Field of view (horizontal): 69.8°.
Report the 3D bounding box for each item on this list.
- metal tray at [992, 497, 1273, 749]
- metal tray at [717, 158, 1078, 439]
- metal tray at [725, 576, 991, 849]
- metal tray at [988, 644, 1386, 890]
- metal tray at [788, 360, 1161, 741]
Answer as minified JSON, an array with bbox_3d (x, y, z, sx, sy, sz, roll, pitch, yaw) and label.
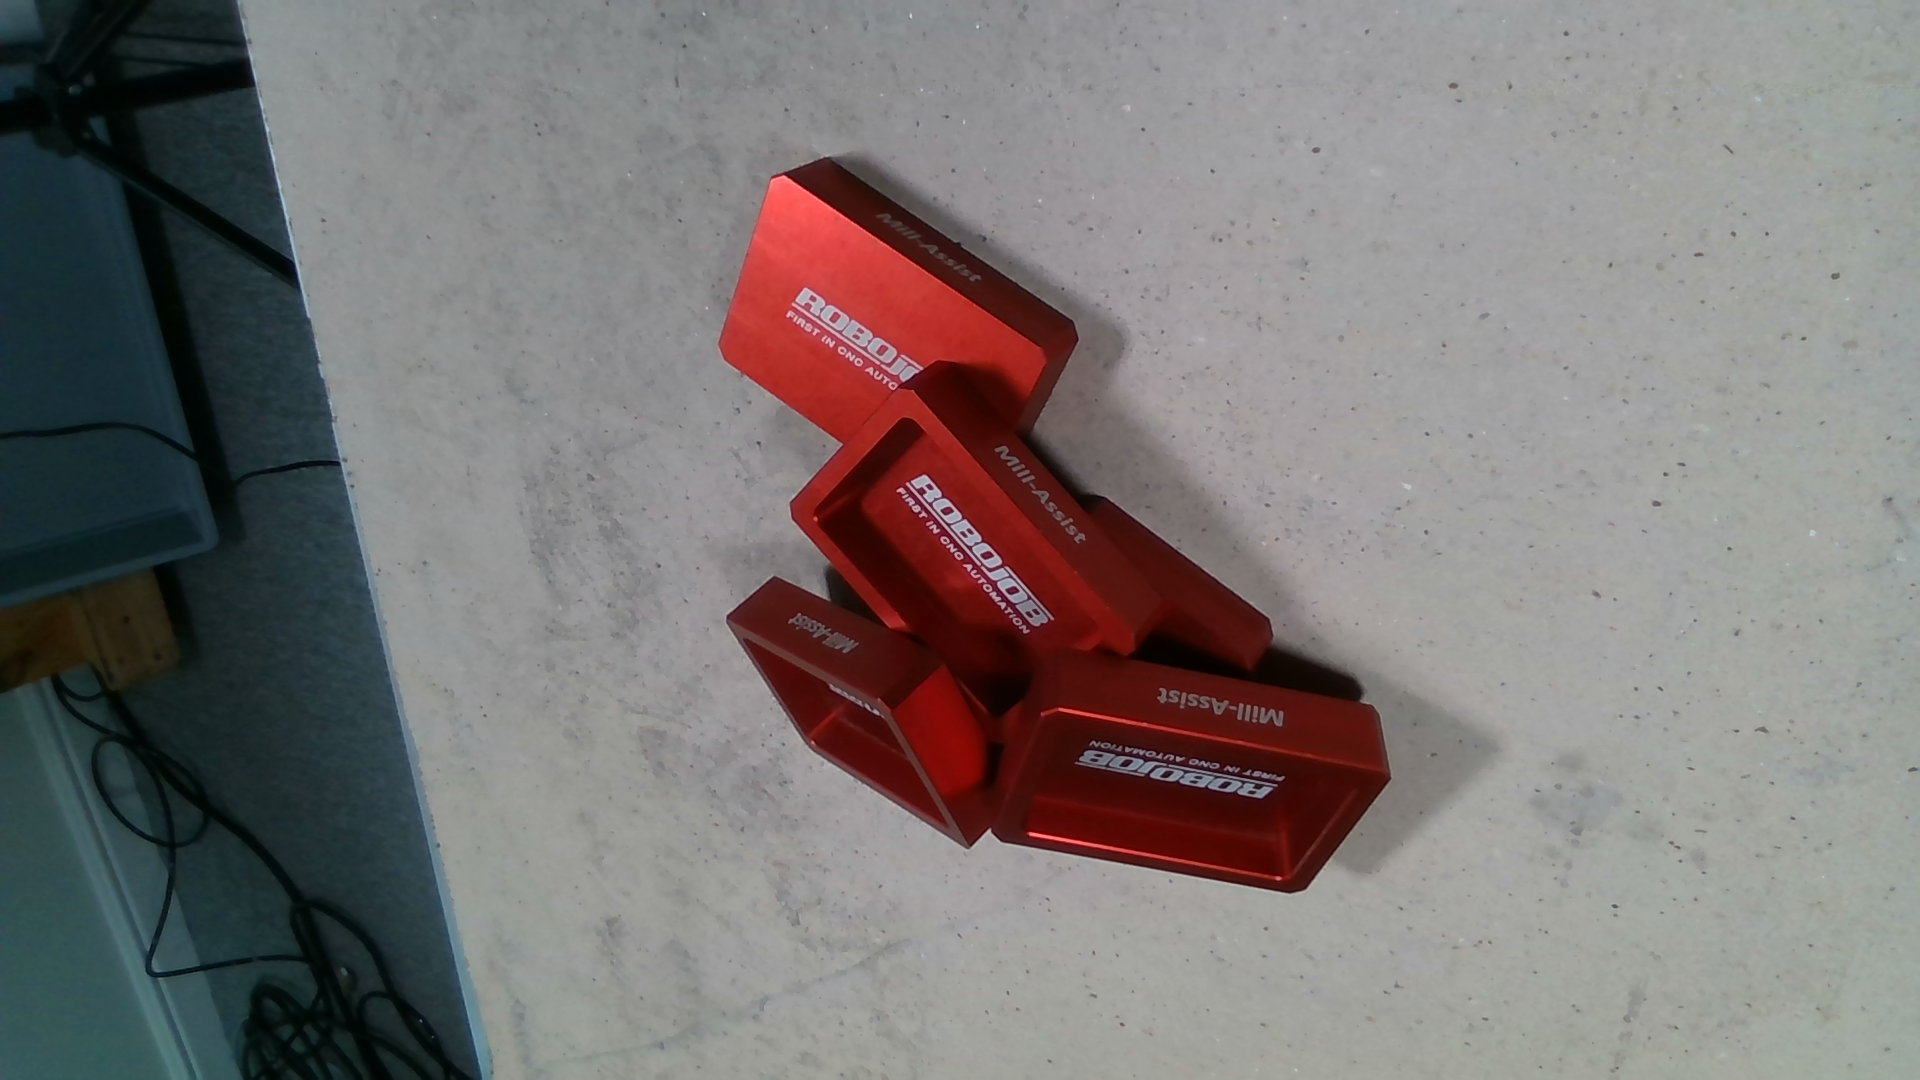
[{"bbox_3d":[0.057,0.057,0.573,0.090,0.030,0.130,37,129,9],"label":"metal tray"},{"bbox_3d":[-0.028,-0.079,0.550,0.130,0.030,0.090,35,128,10],"label":"metal tray"},{"bbox_3d":[-0.041,0.072,0.597,0.130,0.030,0.090,20,145,50],"label":"metal tray"},{"bbox_3d":[0.084,0.090,0.530,0.130,0.030,0.090,11,136,-6],"label":"metal tray"},{"bbox_3d":[0.004,0.006,0.539,0.130,0.030,0.090,48,129,0],"label":"metal tray"}]
